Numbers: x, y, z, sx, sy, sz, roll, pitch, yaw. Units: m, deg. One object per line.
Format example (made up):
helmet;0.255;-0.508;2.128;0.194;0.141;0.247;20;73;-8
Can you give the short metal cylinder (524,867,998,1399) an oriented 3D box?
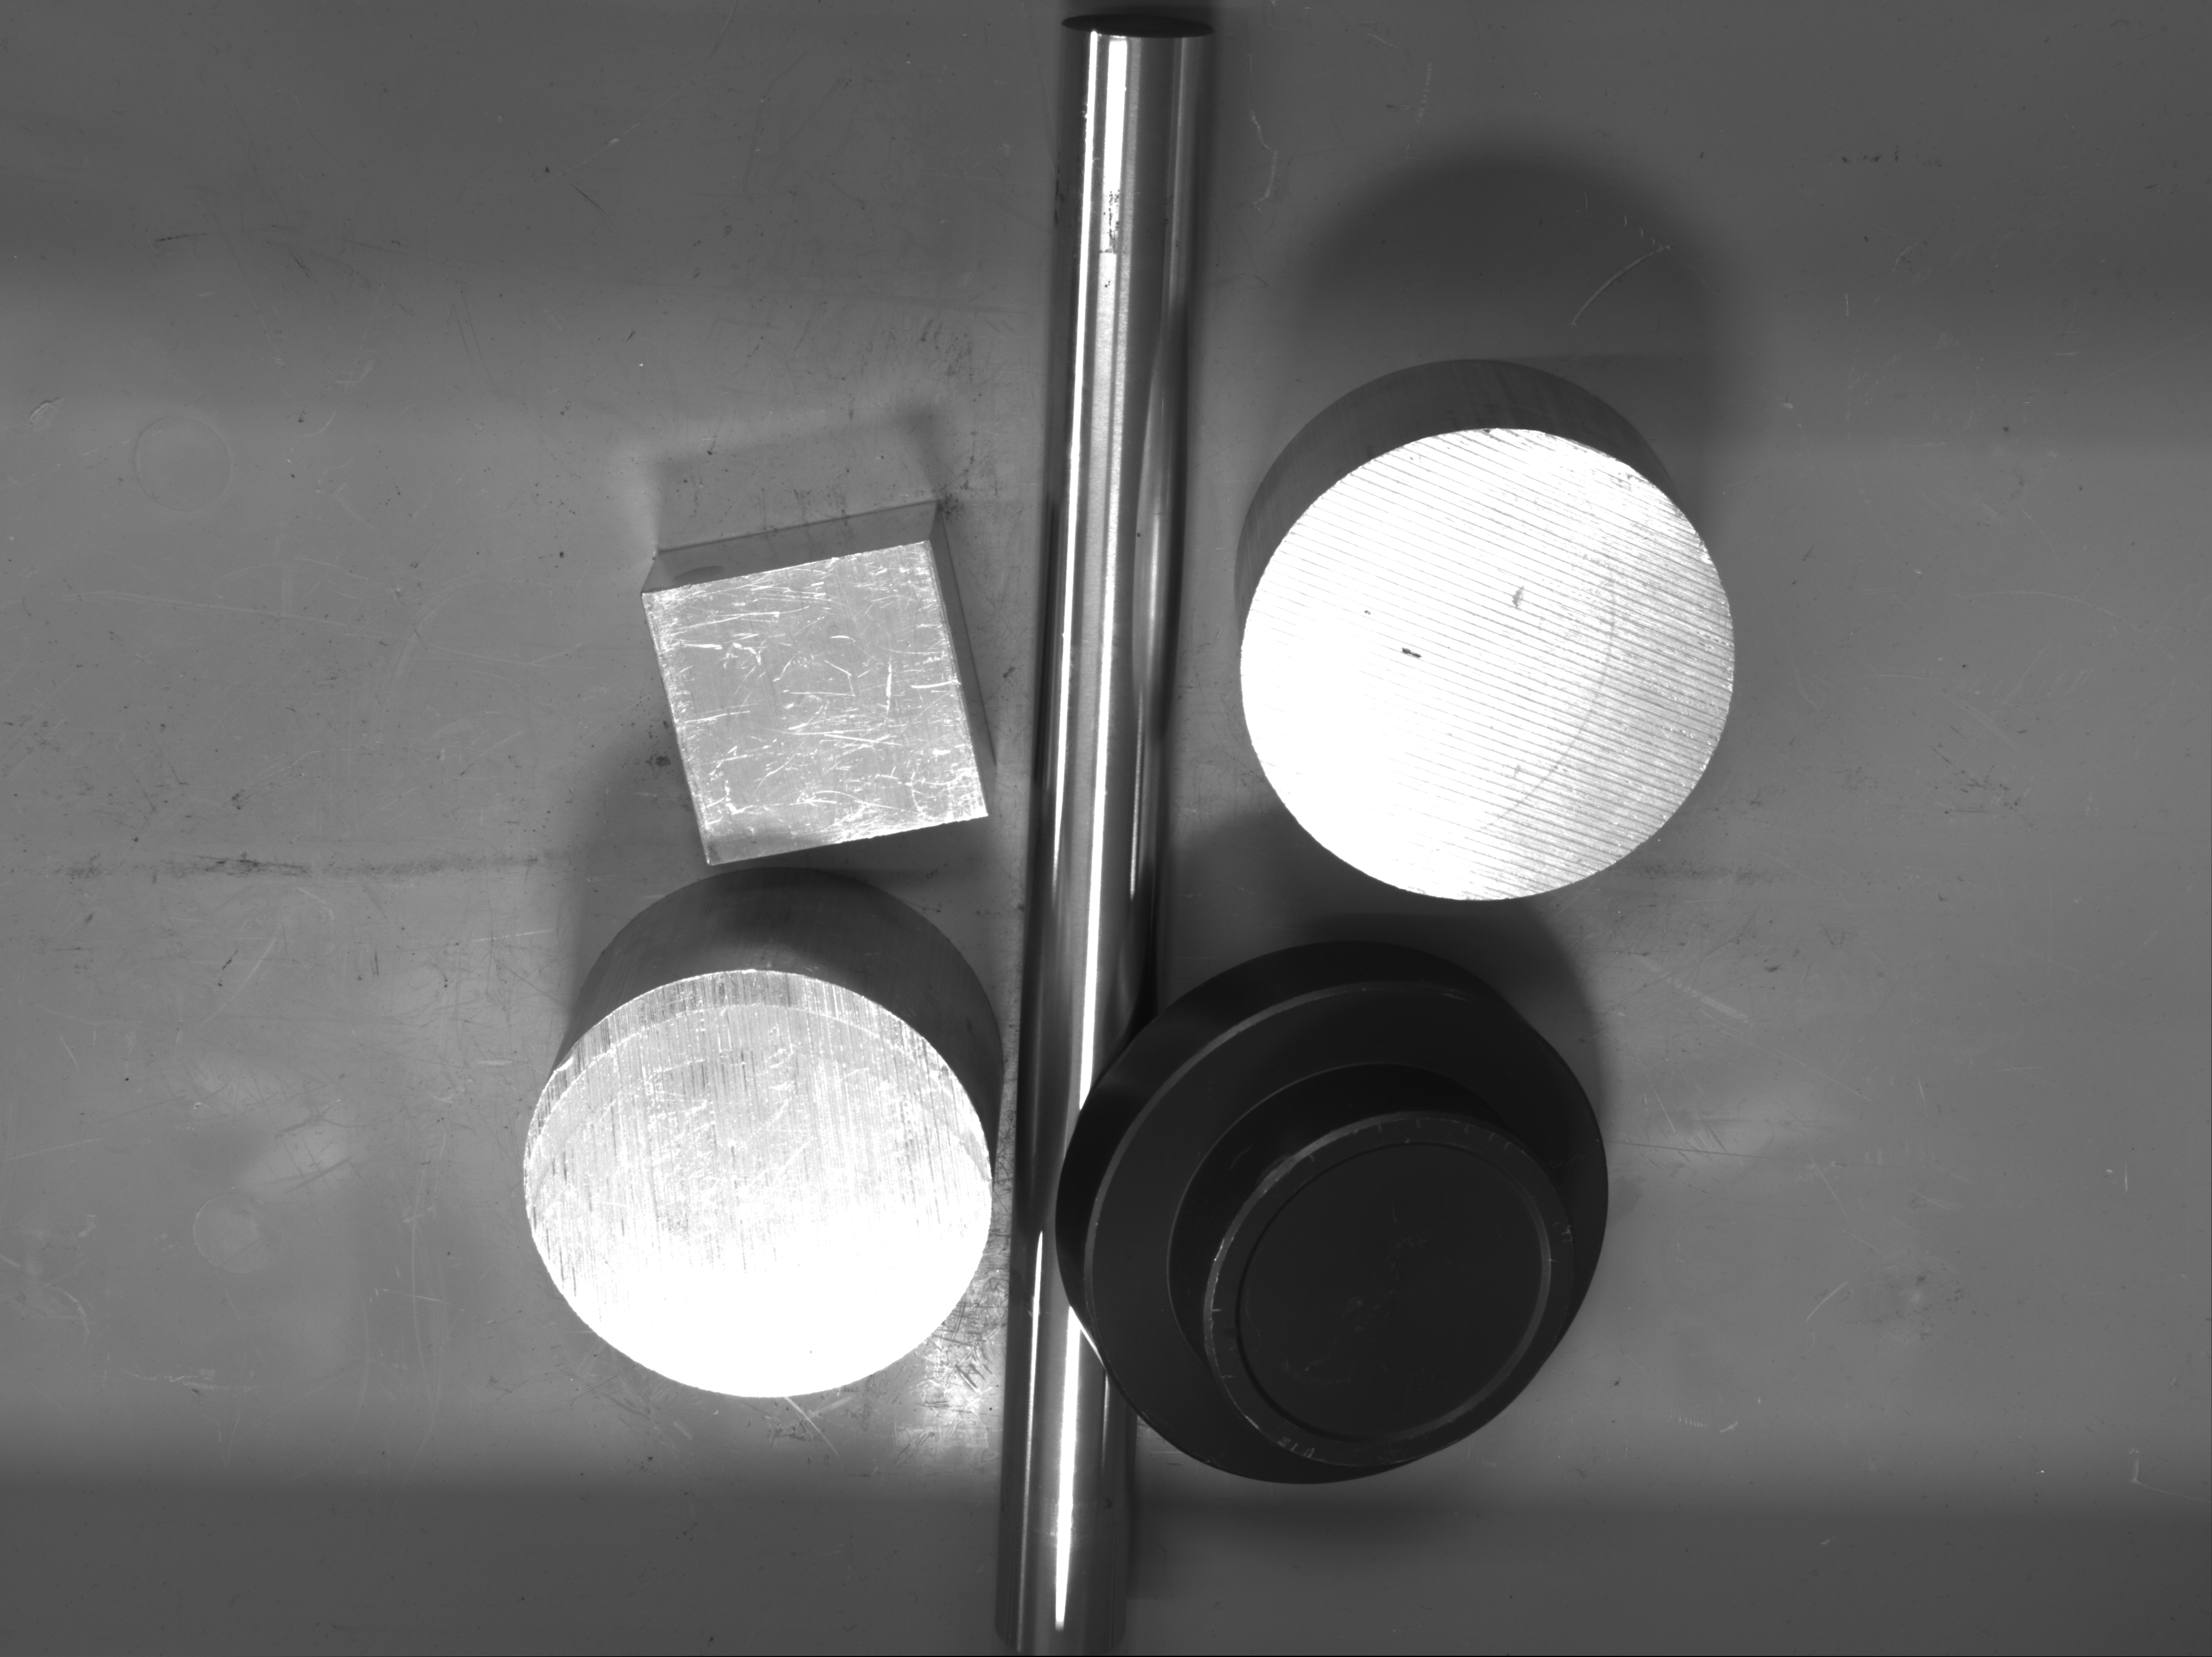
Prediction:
short metal cylinder;-0.059;0.053;0.648;0.080;0.050;0.080;0;110;0

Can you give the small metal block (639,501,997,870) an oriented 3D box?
small metal block;-0.049;-0.025;0.633;0.050;0.025;0.050;-11;110;4

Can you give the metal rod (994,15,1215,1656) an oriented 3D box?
metal rod;-0.002;0.011;0.646;0.025;0.025;0.300;3;110;-1

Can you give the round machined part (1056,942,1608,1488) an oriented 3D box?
round machined part;0.044;0.073;0.647;0.098;0.042;0.098;-6;110;-15

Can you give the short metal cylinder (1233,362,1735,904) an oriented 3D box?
short metal cylinder;0.062;-0.034;0.617;0.080;0.050;0.080;0;110;0
